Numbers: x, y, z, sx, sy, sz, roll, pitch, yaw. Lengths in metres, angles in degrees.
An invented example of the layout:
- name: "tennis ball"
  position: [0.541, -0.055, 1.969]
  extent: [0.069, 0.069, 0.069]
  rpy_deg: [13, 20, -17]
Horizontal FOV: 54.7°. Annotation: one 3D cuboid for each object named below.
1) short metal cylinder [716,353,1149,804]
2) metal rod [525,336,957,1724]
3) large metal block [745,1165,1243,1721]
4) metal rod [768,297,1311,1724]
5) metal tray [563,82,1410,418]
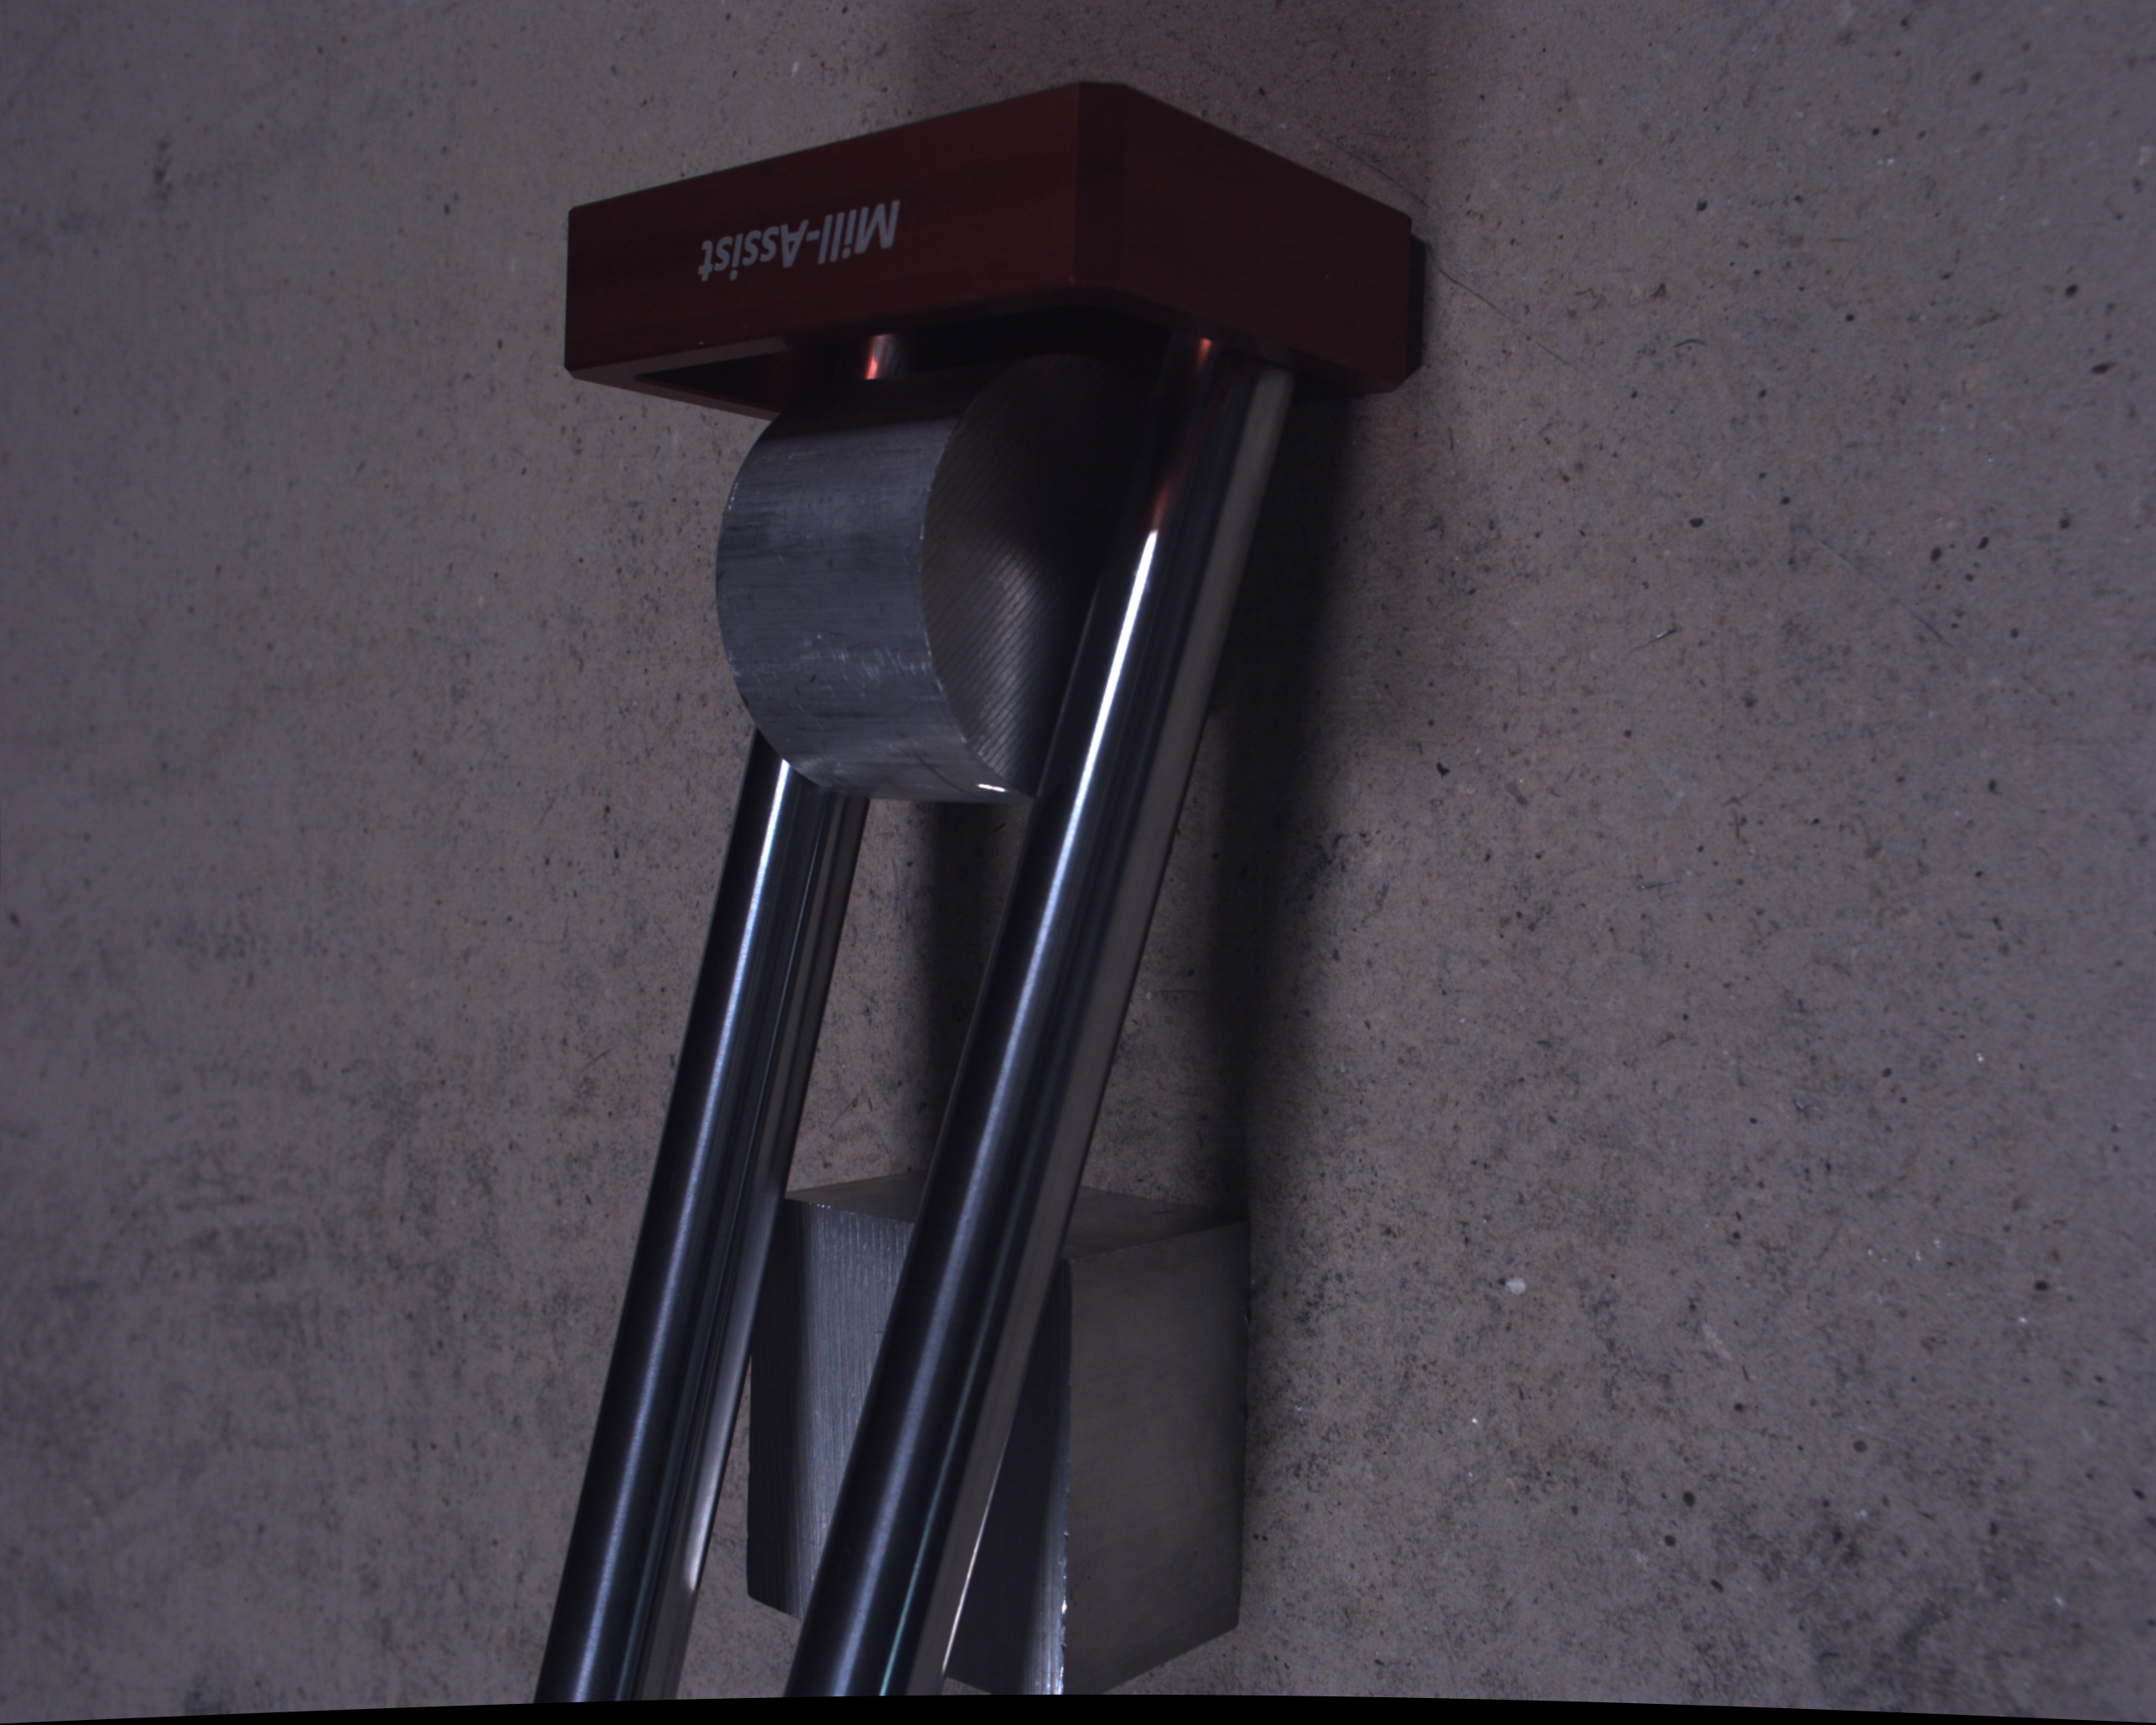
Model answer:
- name: "short metal cylinder"
  position: [-0.019, -0.051, 0.385]
  extent: [0.050, 0.081, 0.079]
  rpy_deg: [3, 92, 39]
- name: "metal rod"
  position: [-0.064, 0.042, 0.397]
  extent: [0.025, 0.025, 0.299]
  rpy_deg: [3, 76, 39]
- name: "large metal block"
  position: [-0.017, 0.105, 0.399]
  extent: [0.080, 0.050, 0.079]
  rpy_deg: [2, 92, 39]
- name: "metal rod"
  position: [-0.010, 0.045, 0.352]
  extent: [0.025, 0.025, 0.299]
  rpy_deg: [11, 82, 39]
- name: "metal tray"
  position: [-0.018, -0.102, 0.377]
  extent: [0.130, 0.091, 0.030]
  rpy_deg: [3, 92, 39]
